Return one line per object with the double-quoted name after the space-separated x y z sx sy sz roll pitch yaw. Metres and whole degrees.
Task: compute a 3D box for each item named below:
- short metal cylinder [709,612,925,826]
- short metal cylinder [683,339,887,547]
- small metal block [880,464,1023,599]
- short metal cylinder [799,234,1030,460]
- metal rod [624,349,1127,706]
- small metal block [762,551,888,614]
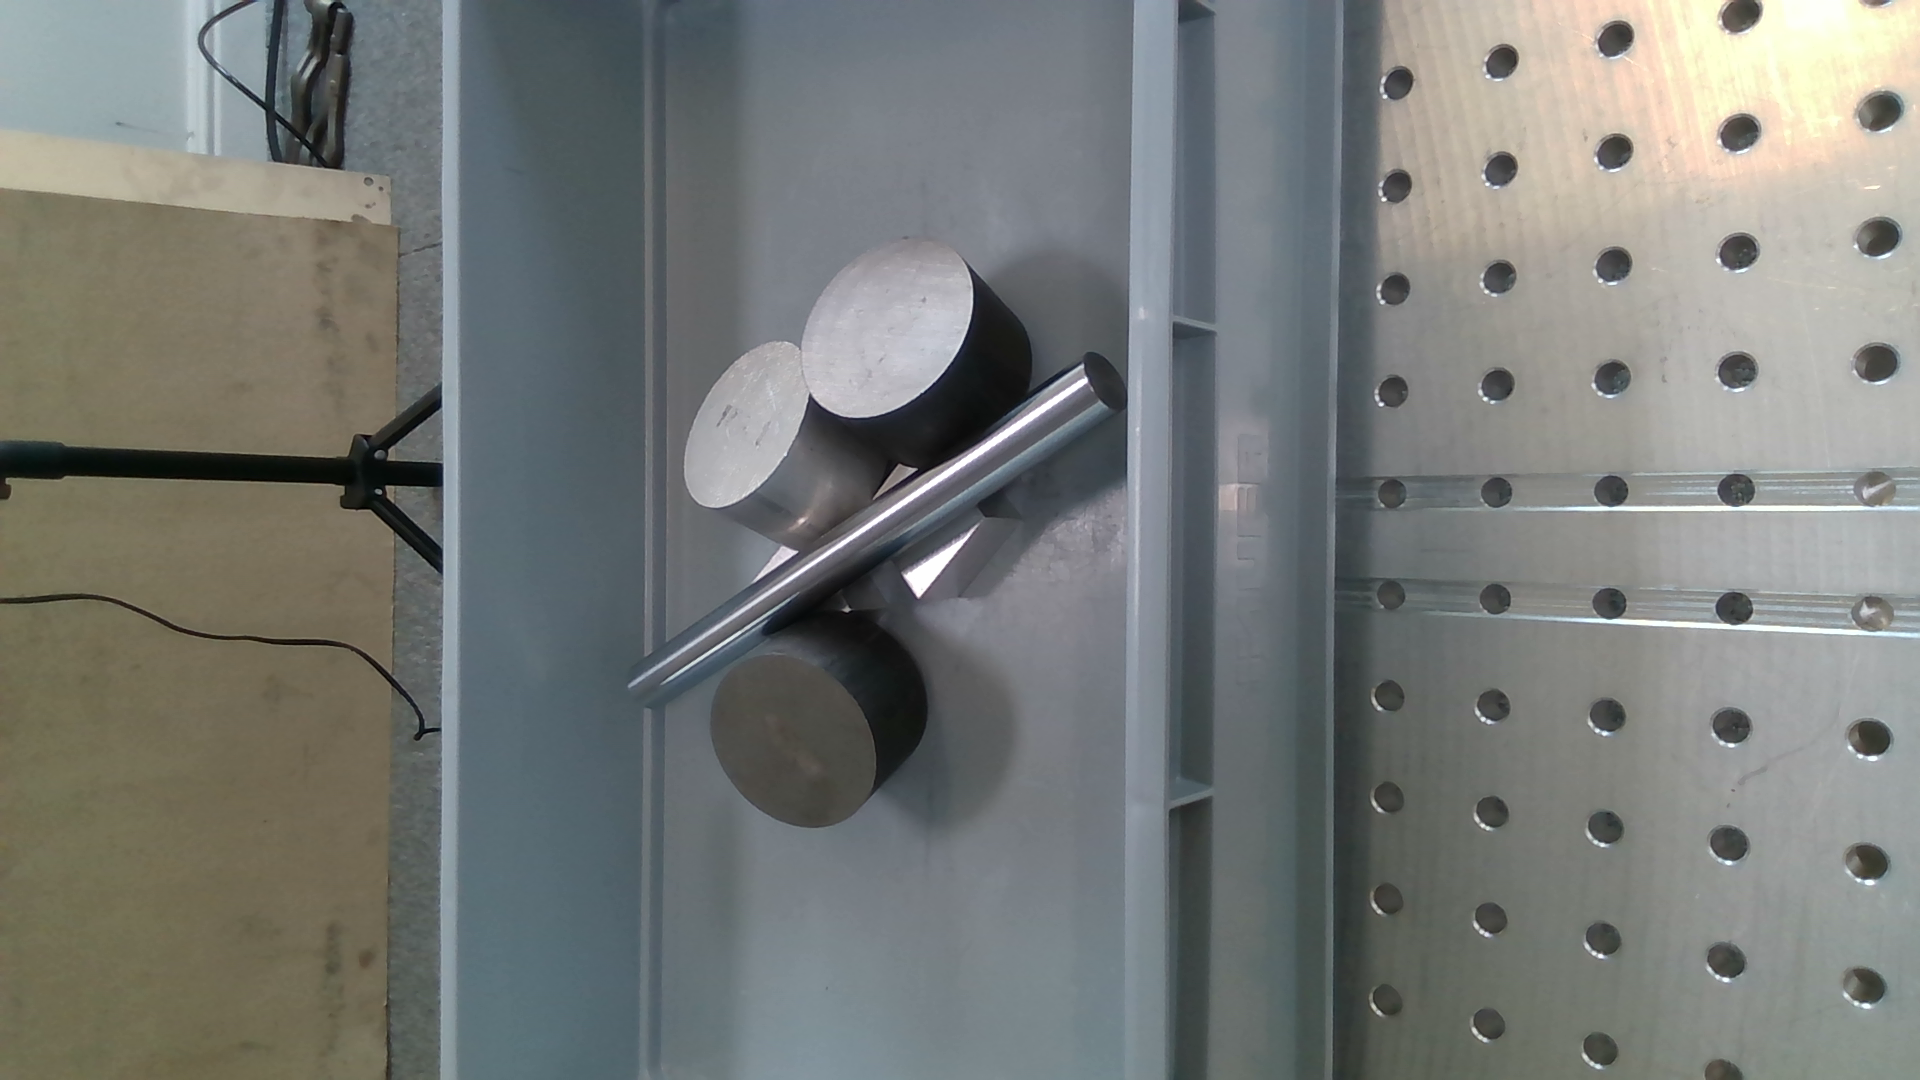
-0.061 0.077 0.600 0.080 0.050 0.080 8 112 22 "short metal cylinder"
-0.077 -0.042 0.612 0.080 0.050 0.080 -23 53 34 "short metal cylinder"
-0.009 -0.011 0.588 0.050 0.025 0.050 -51 60 28 "small metal block"
-0.018 -0.076 0.561 0.080 0.050 0.080 -13 63 27 "short metal cylinder"
-0.051 0.006 0.590 0.300 0.025 0.025 -32 70 36 "metal rod"
-0.068 0.027 0.638 0.050 0.025 0.050 -48 62 30 "small metal block"
